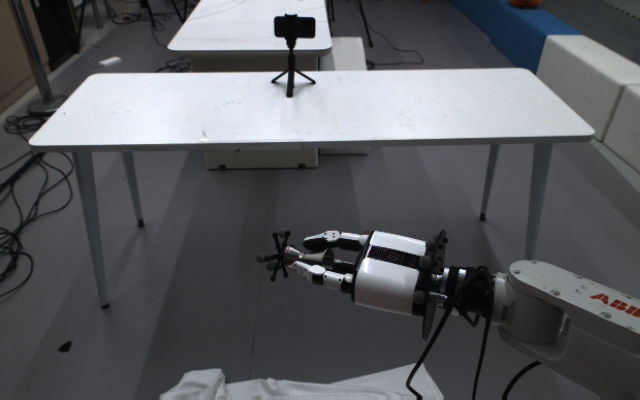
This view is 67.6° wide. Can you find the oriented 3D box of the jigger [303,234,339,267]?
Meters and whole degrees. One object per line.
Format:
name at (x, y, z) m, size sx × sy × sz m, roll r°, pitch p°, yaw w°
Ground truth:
jigger at (-0.010, 0.086, 0.757) m, size 0.071 × 0.043 × 0.043 m, roll 3°, pitch 32°, yaw 25°
